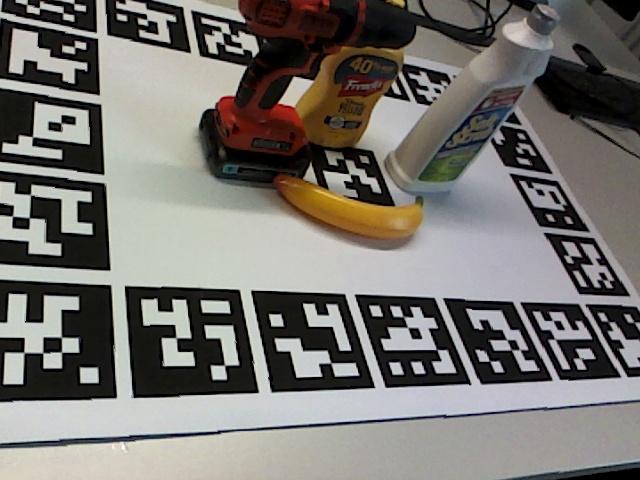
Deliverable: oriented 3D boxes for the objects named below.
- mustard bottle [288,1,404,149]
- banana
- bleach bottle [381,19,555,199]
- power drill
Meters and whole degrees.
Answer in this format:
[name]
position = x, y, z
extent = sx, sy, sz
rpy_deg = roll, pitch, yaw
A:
[mustard bottle]
position = 0.041, -0.193, 0.724
extent = 0.095, 0.192, 0.059
rpy_deg = 5, 50, -29
[banana]
position = 0.050, -0.034, 0.696
extent = 0.196, 0.039, 0.074
rpy_deg = 6, 54, -25
[bleach bottle]
position = 0.178, -0.152, 0.738
extent = 0.102, 0.251, 0.068
rpy_deg = -4, 56, -34
[power drill]
position = -0.025, -0.162, 0.629
extent = 0.183, 0.187, 0.058
rpy_deg = 3, 44, -33
